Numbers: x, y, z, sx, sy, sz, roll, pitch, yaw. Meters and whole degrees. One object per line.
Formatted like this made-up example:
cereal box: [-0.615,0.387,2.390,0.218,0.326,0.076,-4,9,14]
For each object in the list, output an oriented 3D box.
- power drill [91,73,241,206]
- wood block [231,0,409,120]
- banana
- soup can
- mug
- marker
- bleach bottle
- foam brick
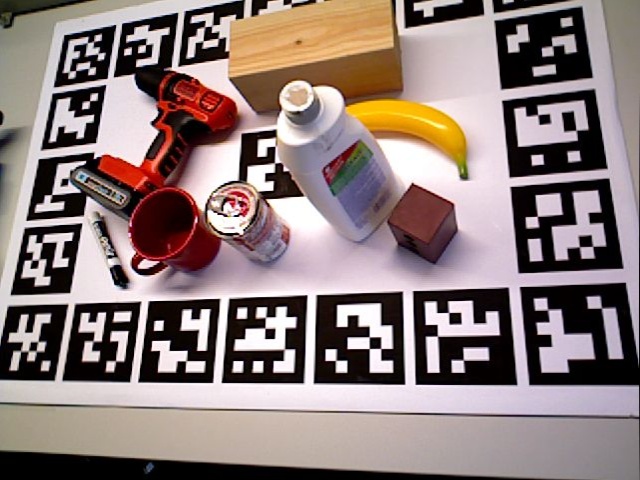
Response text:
power drill: [-0.222,-0.129,0.737,0.184,0.058,0.186,27,80,19]
wood block: [0.002,-0.227,0.681,0.207,0.091,0.089,-4,71,15]
banana: [0.083,-0.140,0.652,0.198,0.038,0.074,13,89,18]
soup can: [-0.084,-0.017,0.621,0.068,0.103,0.067,-6,65,12]
mug: [-0.185,-0.001,0.662,0.093,0.081,0.117,42,89,22]
marker: [-0.289,0.021,0.723,0.020,0.020,0.120,-32,67,5]
bleach bottle: [0.021,-0.077,0.535,0.068,0.252,0.102,27,78,23]
foam brick: [0.117,-0.007,0.579,0.053,0.078,0.051,32,79,25]
